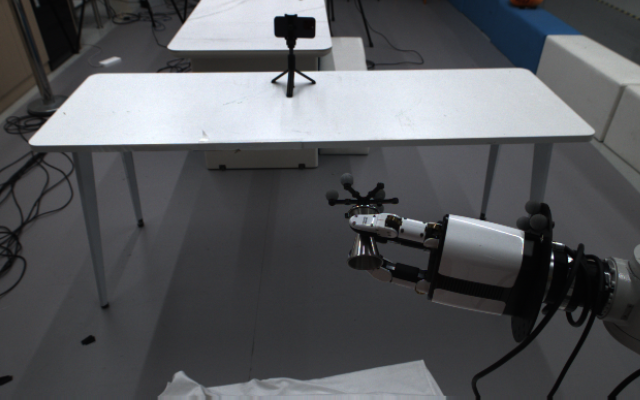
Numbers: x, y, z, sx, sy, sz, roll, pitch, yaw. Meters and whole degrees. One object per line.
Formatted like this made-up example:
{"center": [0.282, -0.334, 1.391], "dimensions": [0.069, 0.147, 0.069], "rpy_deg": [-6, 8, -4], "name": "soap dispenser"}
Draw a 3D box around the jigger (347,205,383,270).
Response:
{"center": [0.055, 0.042, 0.586], "dimensions": [0.043, 0.043, 0.071], "rpy_deg": [2, 58, -1], "name": "jigger"}
